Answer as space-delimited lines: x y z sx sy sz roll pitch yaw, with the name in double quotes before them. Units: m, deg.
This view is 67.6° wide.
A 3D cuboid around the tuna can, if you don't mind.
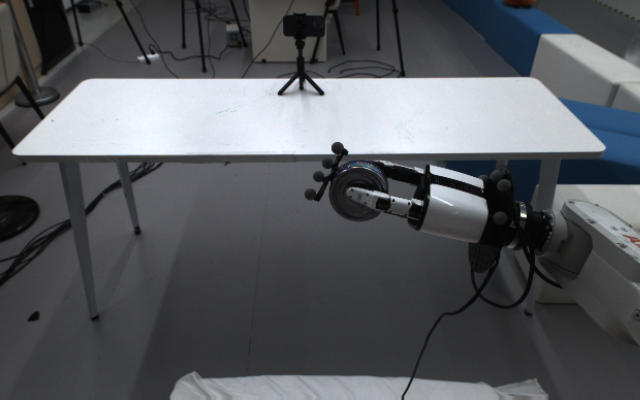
"tuna can" 0.059 -0.014 0.700 0.085 0.085 0.034 3 21 1
